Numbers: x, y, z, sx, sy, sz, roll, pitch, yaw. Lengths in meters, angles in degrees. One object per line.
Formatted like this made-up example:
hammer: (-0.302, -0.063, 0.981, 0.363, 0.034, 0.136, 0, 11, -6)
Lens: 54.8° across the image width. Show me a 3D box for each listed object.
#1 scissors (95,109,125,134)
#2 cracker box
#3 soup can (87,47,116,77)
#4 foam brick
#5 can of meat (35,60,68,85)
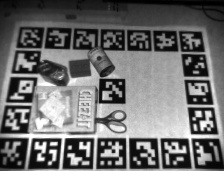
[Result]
scissors: (-0.056, 0.134, 0.773, 0.203, 0.016, 0.087, -3, 73, -3)
cracker box: (-0.170, 0.089, 0.750, 0.213, 0.072, 0.163, -5, 71, 1)
soup can: (-0.042, -0.091, 0.839, 0.068, 0.068, 0.101, -35, 71, -11)
foam brick: (-0.124, -0.066, 0.829, 0.078, 0.051, 0.052, -9, 73, -5)
can of meat: (-0.220, -0.043, 0.798, 0.102, 0.084, 0.058, 14, 73, 3)
